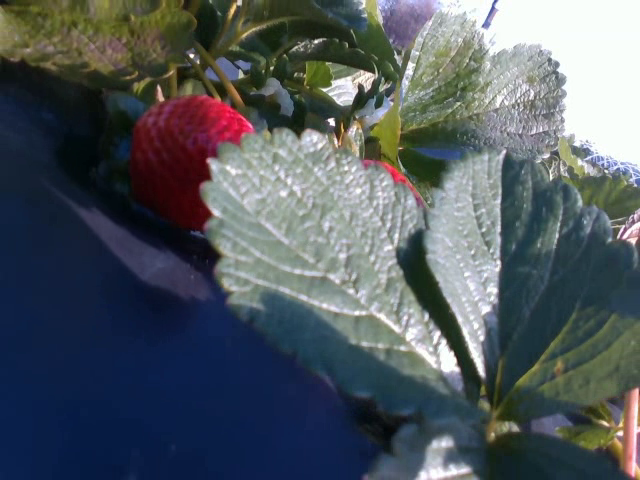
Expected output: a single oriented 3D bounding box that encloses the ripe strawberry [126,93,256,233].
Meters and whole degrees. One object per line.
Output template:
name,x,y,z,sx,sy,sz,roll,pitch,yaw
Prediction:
ripe strawberry,-0.027,-0.019,0.149,0.043,0.036,0.052,-22,32,-33
